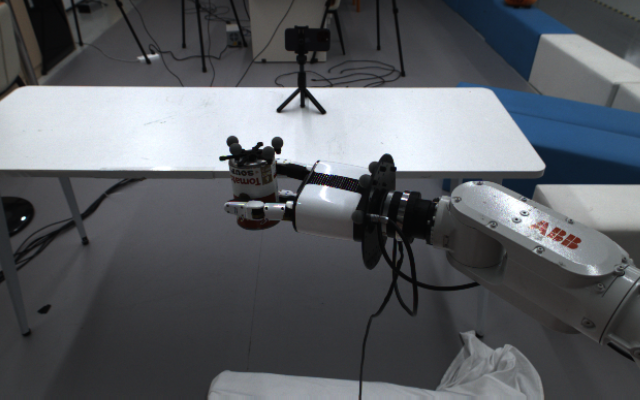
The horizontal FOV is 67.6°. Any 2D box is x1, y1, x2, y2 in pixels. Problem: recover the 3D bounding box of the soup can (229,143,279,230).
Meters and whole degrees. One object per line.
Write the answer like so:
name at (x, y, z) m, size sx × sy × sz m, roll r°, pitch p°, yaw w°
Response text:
soup can at (-0.094, -0.015, 0.712) m, size 0.067 × 0.101 × 0.067 m, roll -3°, pitch 26°, yaw 2°
